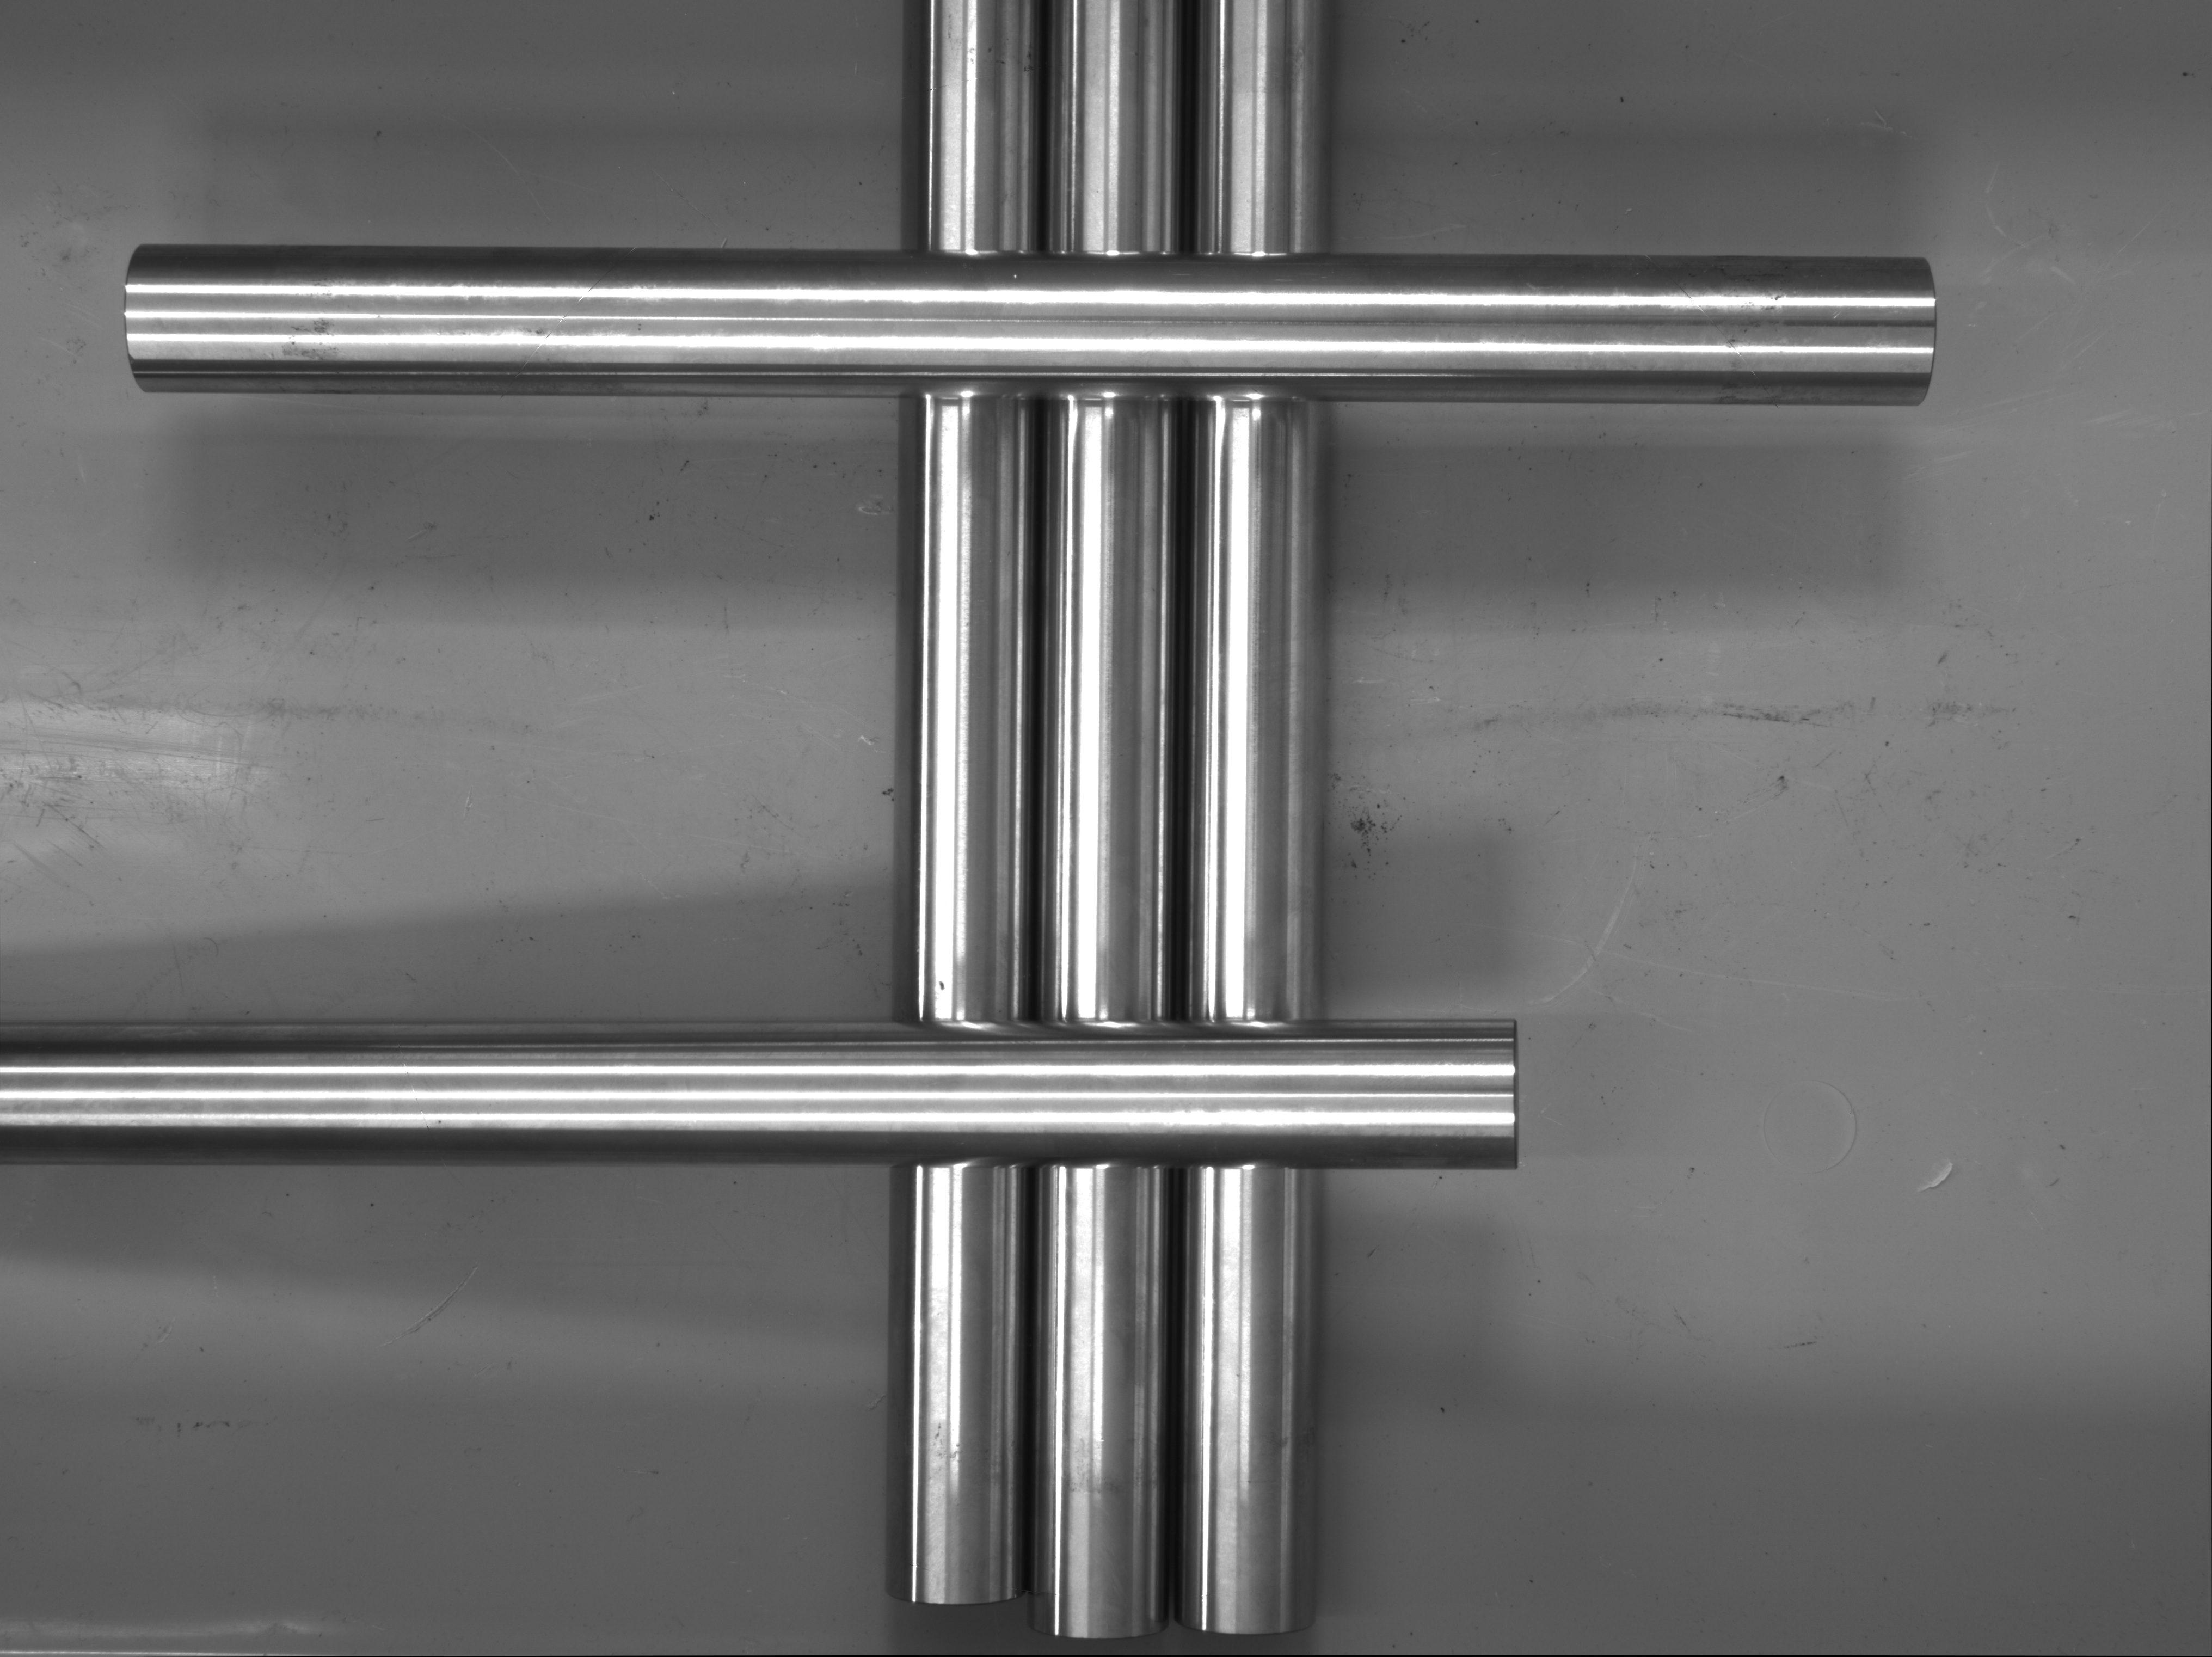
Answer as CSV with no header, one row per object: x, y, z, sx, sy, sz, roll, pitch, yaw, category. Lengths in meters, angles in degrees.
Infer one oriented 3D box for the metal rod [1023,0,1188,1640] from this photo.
0.000,-0.010,0.645,0.025,0.025,0.300,1,90,0,metal rod

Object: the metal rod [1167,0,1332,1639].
0.025,-0.011,0.644,0.025,0.025,0.300,1,90,0,metal rod

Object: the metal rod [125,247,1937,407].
-0.012,-0.085,0.619,0.300,0.025,0.025,0,90,0,metal rod

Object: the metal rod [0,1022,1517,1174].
-0.081,0.046,0.626,0.300,0.025,0.025,0,90,7,metal rod

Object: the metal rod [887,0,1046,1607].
-0.024,-0.016,0.645,0.025,0.025,0.300,1,90,0,metal rod
